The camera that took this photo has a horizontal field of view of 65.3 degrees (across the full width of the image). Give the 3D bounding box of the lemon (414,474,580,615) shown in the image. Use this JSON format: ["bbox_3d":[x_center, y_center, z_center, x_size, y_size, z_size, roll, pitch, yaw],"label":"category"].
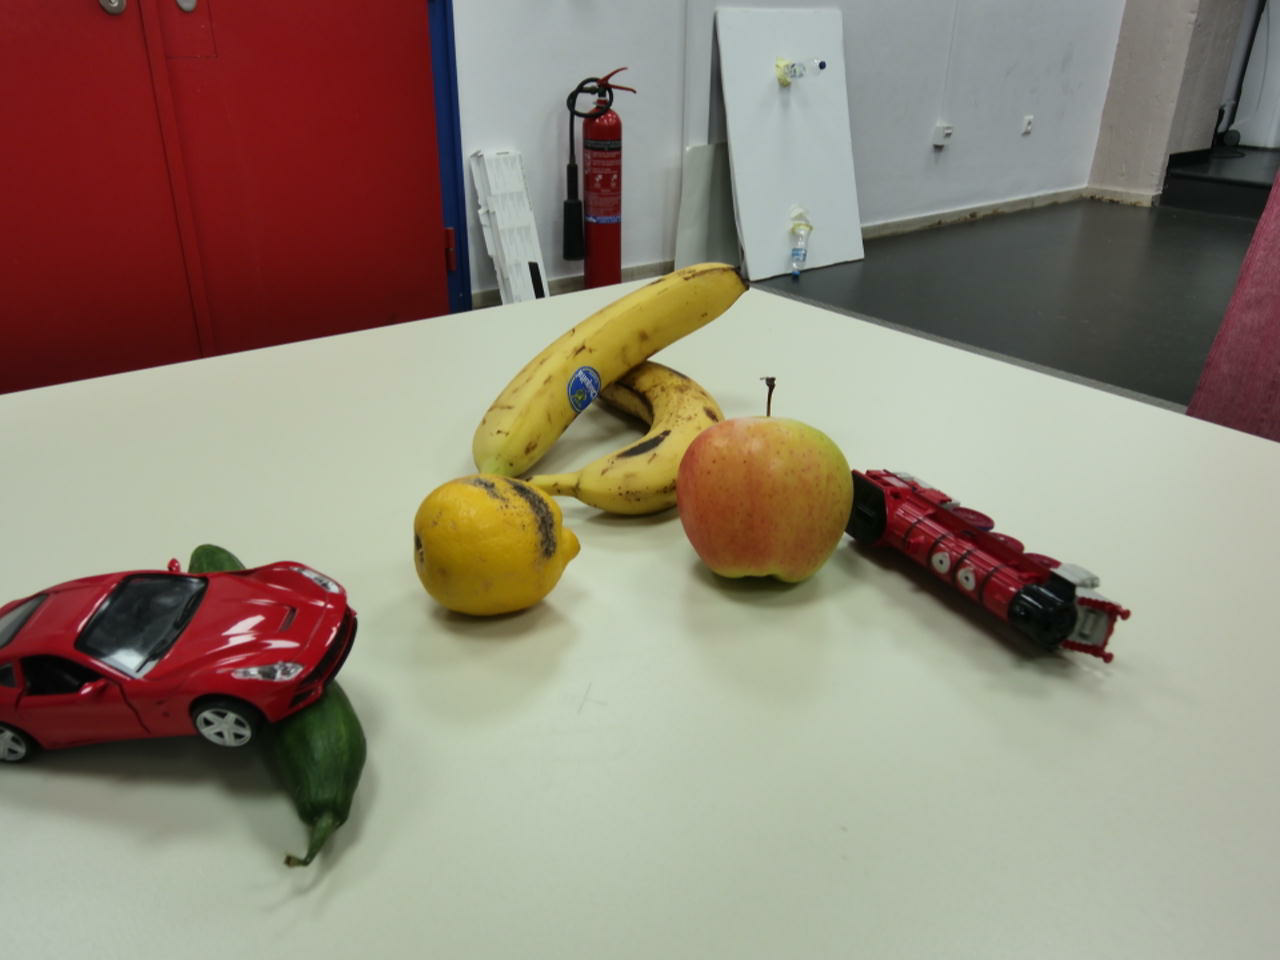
[{"bbox_3d":[-0.060,0.025,0.401,0.058,0.056,0.061,20,31,39],"label":"lemon"}]
